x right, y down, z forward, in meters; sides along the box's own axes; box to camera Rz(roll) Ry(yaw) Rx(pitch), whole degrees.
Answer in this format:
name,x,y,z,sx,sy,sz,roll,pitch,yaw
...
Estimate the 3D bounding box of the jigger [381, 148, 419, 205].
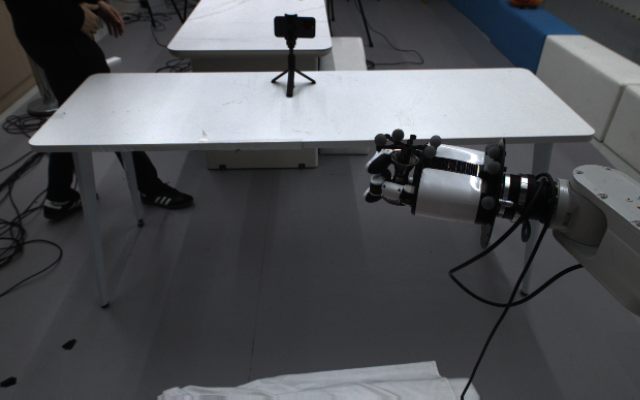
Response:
name,x,y,z,sx,sy,sz,roll,pitch,yaw
jigger,0.122,-0.033,0.714,0.043,0.071,0.043,4,31,-2
